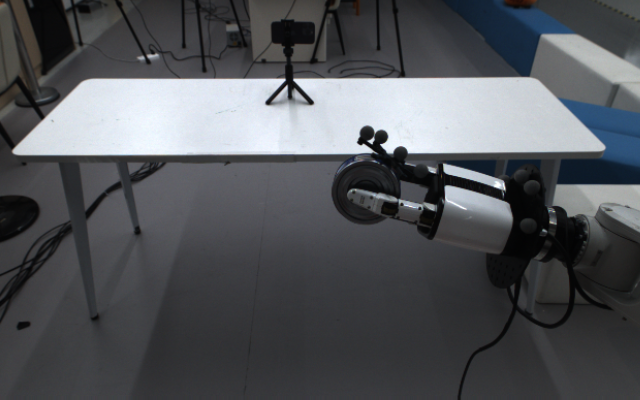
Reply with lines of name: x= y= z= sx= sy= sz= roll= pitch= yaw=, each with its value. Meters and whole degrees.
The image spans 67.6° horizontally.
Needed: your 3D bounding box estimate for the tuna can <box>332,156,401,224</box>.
tuna can: x=0.061 y=-0.007 z=0.602 sx=0.085 sy=0.085 sz=0.034 roll=7 pitch=19 yaw=7
